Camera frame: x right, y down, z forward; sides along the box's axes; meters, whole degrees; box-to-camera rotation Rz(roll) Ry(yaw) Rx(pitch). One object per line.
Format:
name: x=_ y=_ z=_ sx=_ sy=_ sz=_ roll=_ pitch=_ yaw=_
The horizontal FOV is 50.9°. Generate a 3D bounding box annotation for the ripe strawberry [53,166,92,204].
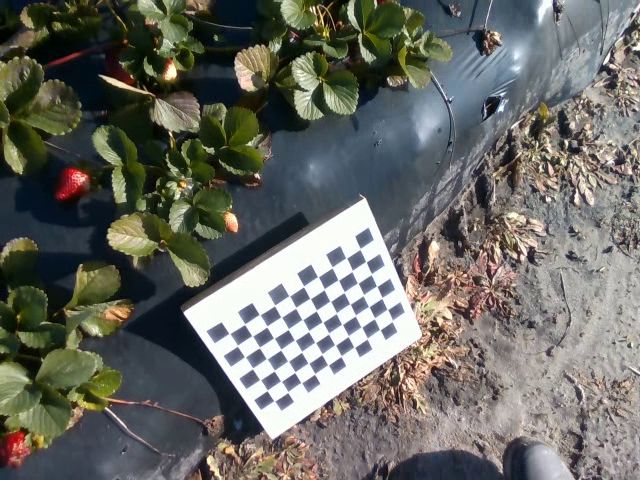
ripe strawberry: x=-0.292 y=-0.065 z=0.777 sx=0.044 sy=0.056 sz=0.042 roll=13 pitch=-36 yaw=44
